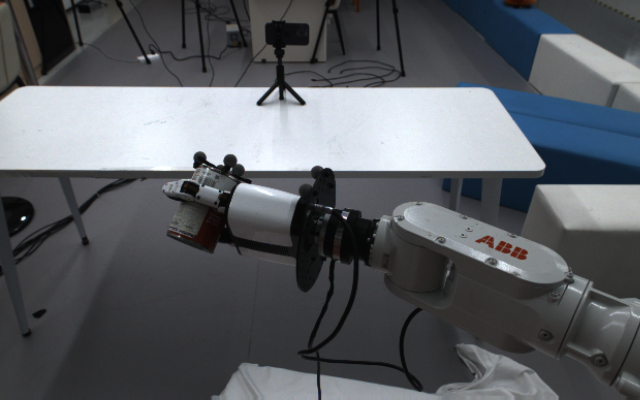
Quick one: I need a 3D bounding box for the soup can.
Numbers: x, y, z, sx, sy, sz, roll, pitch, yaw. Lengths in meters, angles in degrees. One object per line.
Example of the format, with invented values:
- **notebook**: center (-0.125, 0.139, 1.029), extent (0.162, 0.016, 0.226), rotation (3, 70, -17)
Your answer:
- **soup can**: center (-0.153, 0.014, 0.647), extent (0.067, 0.067, 0.101), rotation (16, 75, 19)
